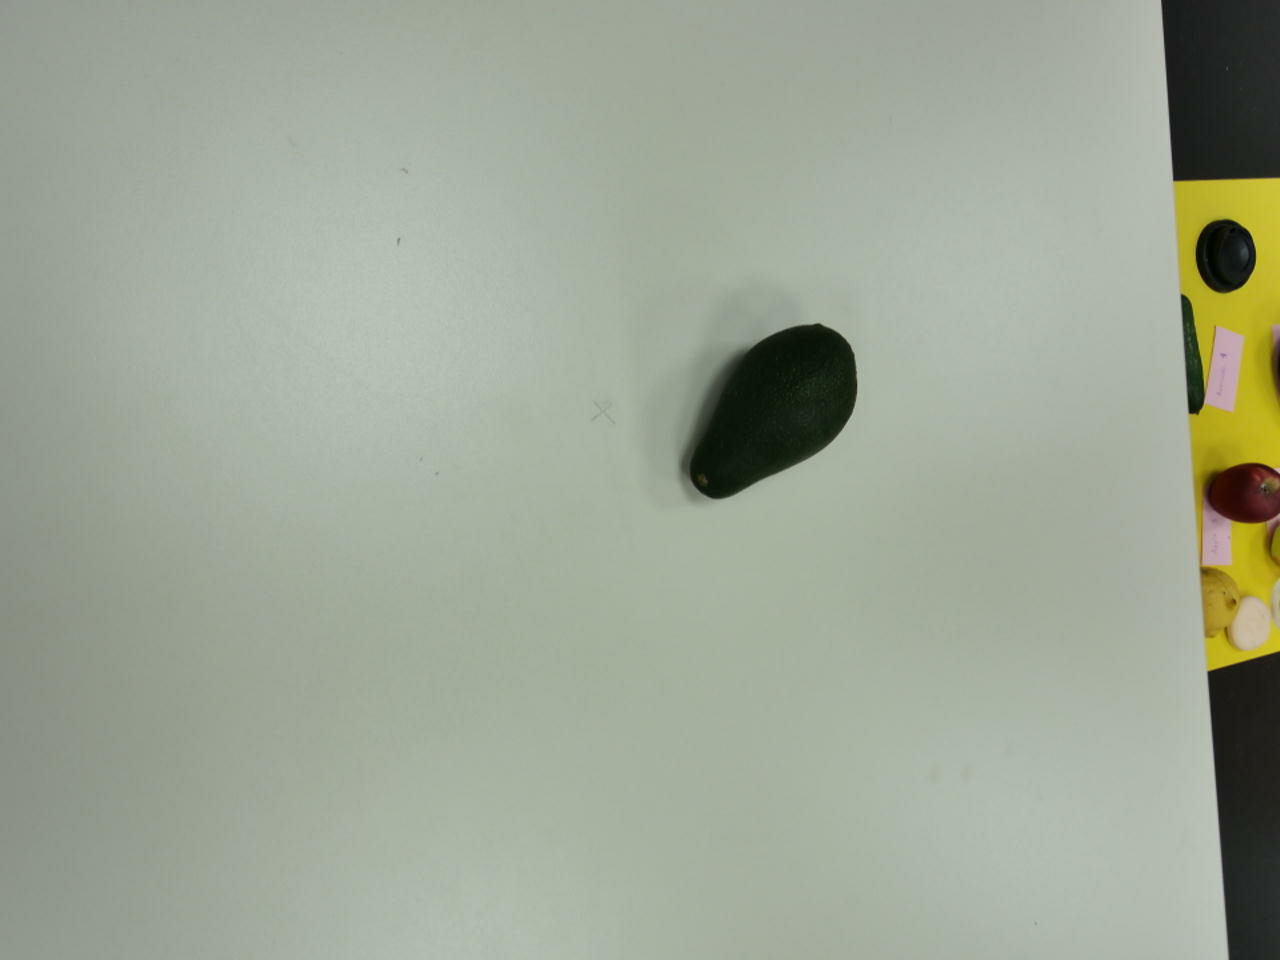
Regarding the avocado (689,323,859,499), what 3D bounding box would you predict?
[{"bbox_3d":[0.074,-0.040,0.562,0.109,0.071,0.072,-29,101,-19],"label":"avocado"}]
